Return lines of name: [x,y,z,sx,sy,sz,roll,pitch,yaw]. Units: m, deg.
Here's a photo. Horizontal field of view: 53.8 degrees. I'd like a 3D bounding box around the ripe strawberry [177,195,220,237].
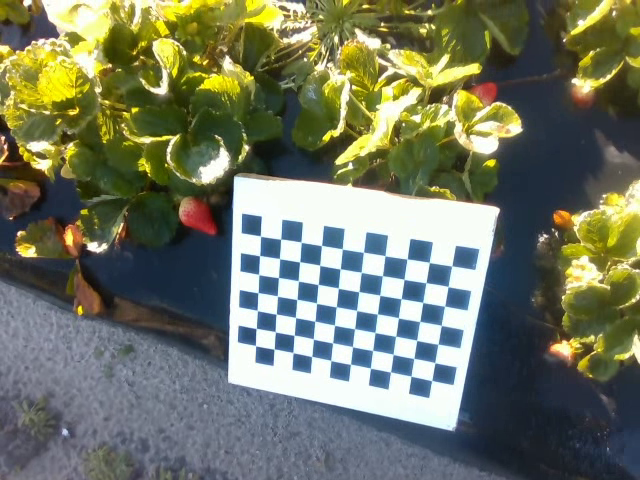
ripe strawberry: [-0.158,-0.025,0.794,0.040,0.065,0.040,-41,5,21]
